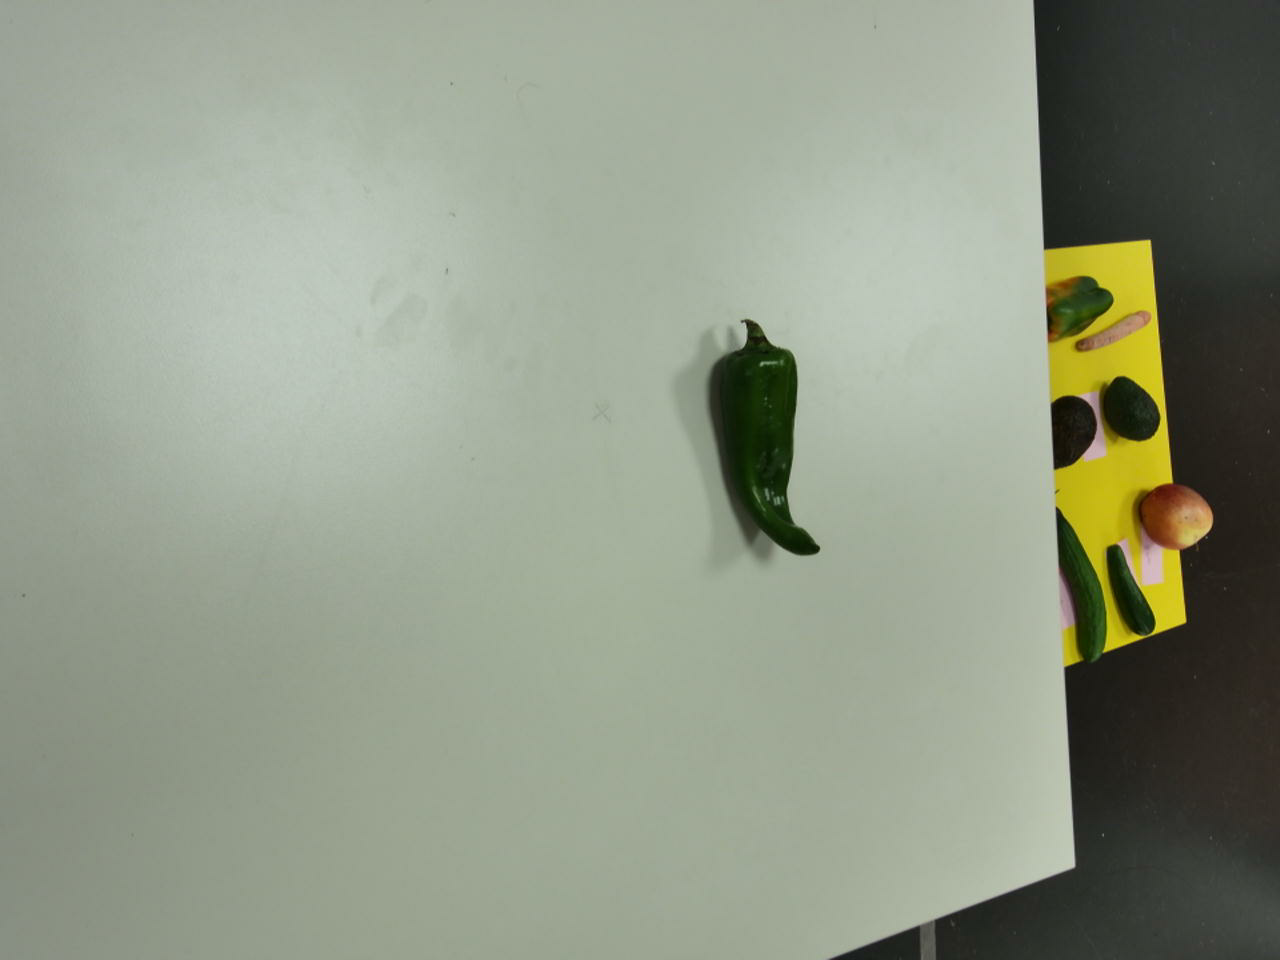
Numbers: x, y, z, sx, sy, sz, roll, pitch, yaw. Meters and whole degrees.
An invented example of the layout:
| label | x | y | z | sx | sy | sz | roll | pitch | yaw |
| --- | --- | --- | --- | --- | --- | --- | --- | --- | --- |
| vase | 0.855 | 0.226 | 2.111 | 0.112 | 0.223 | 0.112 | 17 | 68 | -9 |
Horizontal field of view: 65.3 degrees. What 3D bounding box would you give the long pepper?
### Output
| label | x | y | z | sx | sy | sz | roll | pitch | yaw |
| --- | --- | --- | --- | --- | --- | --- | --- | --- | --- |
| long pepper | 0.093 | -0.031 | 0.725 | 0.058 | 0.065 | 0.175 | -7 | 94 | -28 |
